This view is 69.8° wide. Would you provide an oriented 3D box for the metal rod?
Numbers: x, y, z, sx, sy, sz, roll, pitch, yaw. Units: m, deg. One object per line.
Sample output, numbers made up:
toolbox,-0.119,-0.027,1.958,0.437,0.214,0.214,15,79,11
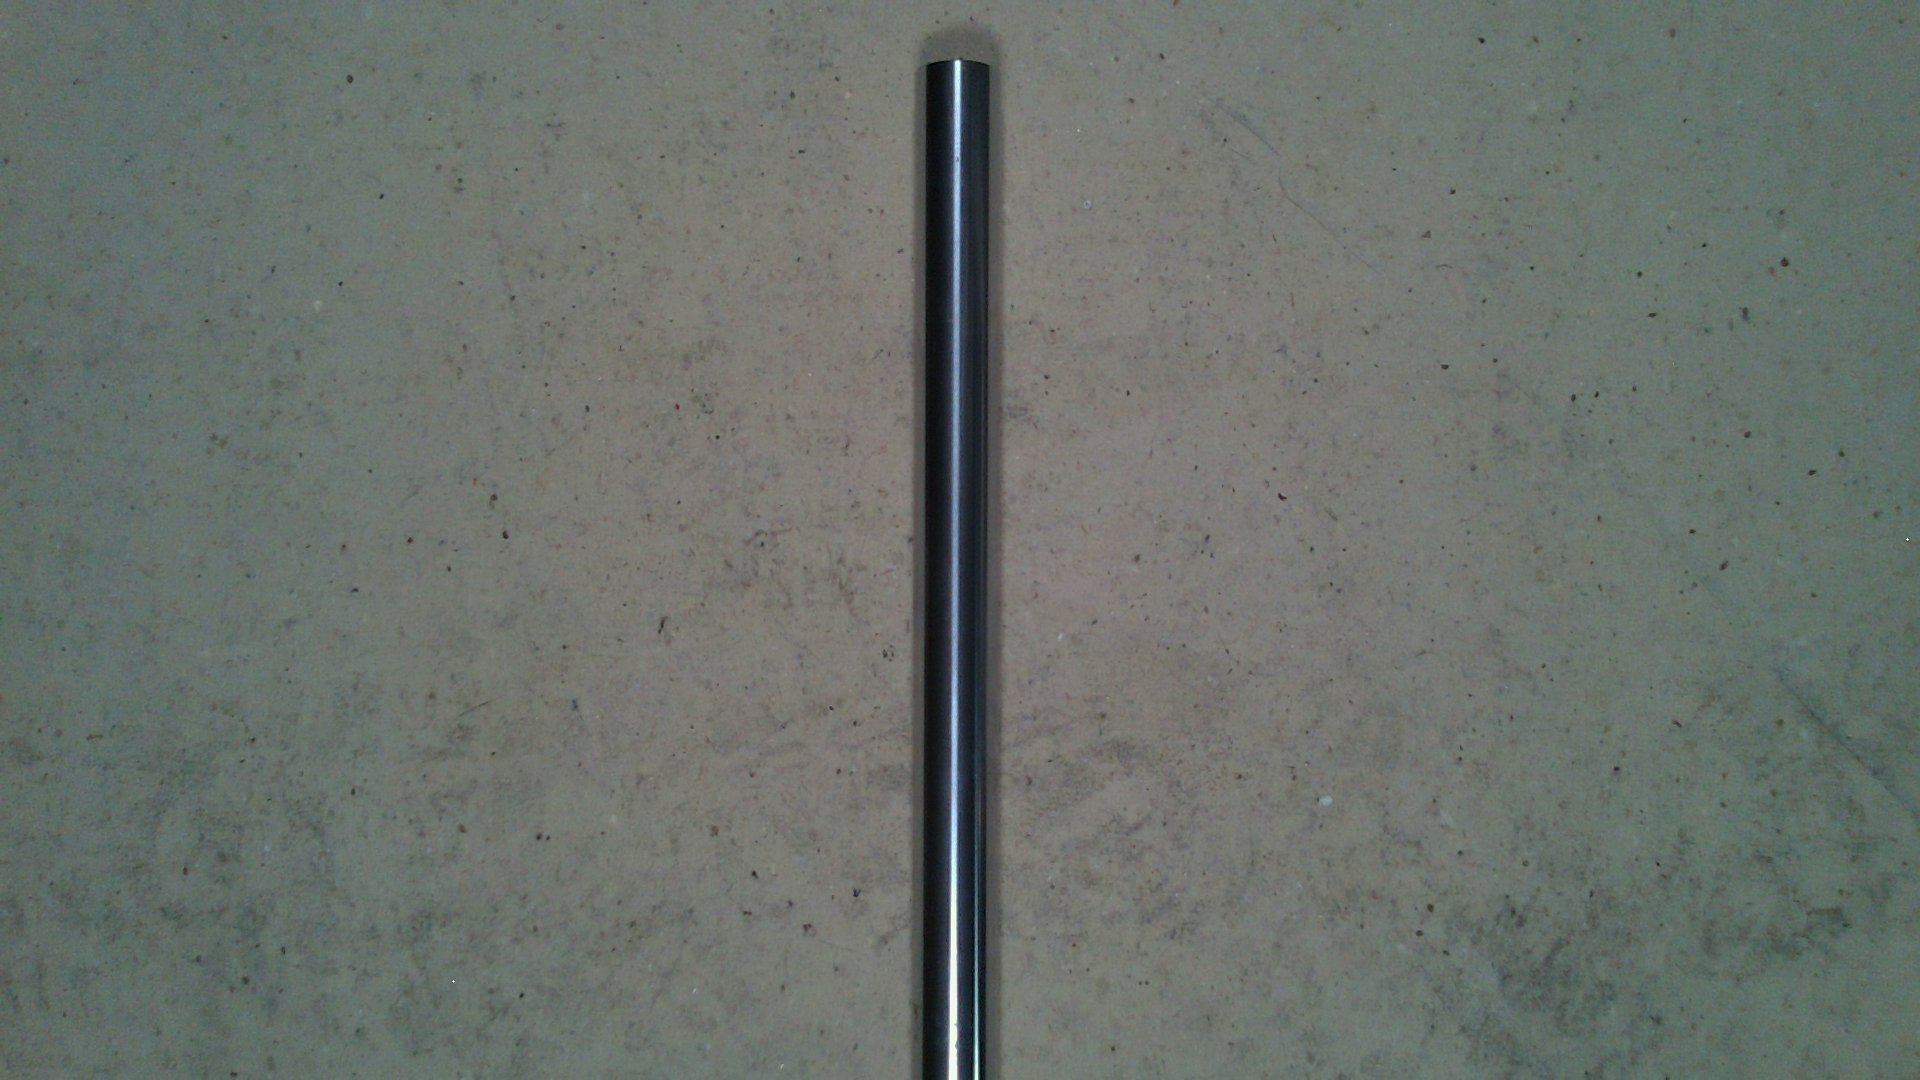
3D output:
metal rod,-0.001,0.017,0.395,0.025,0.025,0.300,0,90,0
